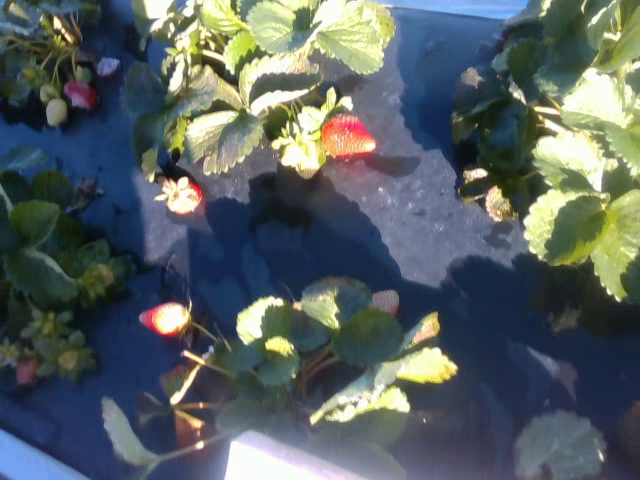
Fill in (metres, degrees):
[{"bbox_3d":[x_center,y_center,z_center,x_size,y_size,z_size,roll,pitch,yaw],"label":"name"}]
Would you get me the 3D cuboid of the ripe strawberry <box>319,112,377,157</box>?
[{"bbox_3d":[0.031,-0.094,0.574,0.064,0.050,0.052,25,19,34],"label":"ripe strawberry"}]
